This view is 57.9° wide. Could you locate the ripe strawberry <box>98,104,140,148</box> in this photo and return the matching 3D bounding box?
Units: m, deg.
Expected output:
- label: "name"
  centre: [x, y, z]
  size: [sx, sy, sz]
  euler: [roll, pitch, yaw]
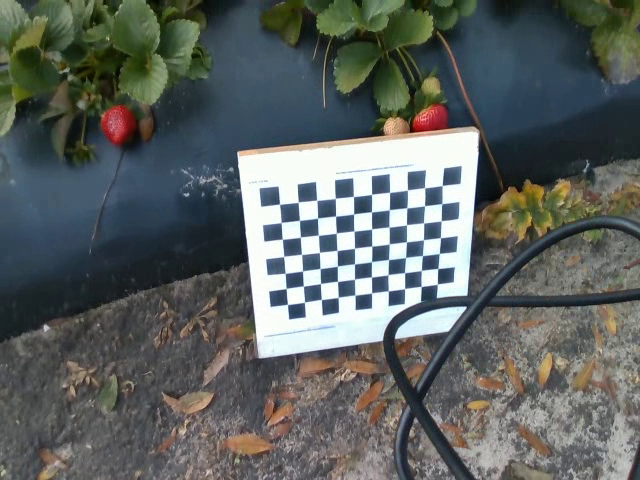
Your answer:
- label: "ripe strawberry"
  centre: [-0.257, -0.139, 0.728]
  size: [0.050, 0.049, 0.053]
  euler: [-15, 44, -7]
